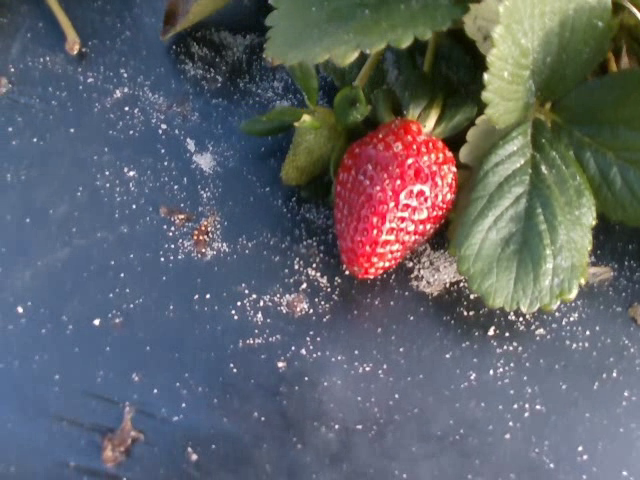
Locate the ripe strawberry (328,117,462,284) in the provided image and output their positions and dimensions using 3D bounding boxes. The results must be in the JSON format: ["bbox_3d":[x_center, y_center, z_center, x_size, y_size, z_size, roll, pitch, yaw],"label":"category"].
[{"bbox_3d":[0.011,-0.006,0.116,0.029,0.036,0.021,16,-23,16],"label":"ripe strawberry"}]
